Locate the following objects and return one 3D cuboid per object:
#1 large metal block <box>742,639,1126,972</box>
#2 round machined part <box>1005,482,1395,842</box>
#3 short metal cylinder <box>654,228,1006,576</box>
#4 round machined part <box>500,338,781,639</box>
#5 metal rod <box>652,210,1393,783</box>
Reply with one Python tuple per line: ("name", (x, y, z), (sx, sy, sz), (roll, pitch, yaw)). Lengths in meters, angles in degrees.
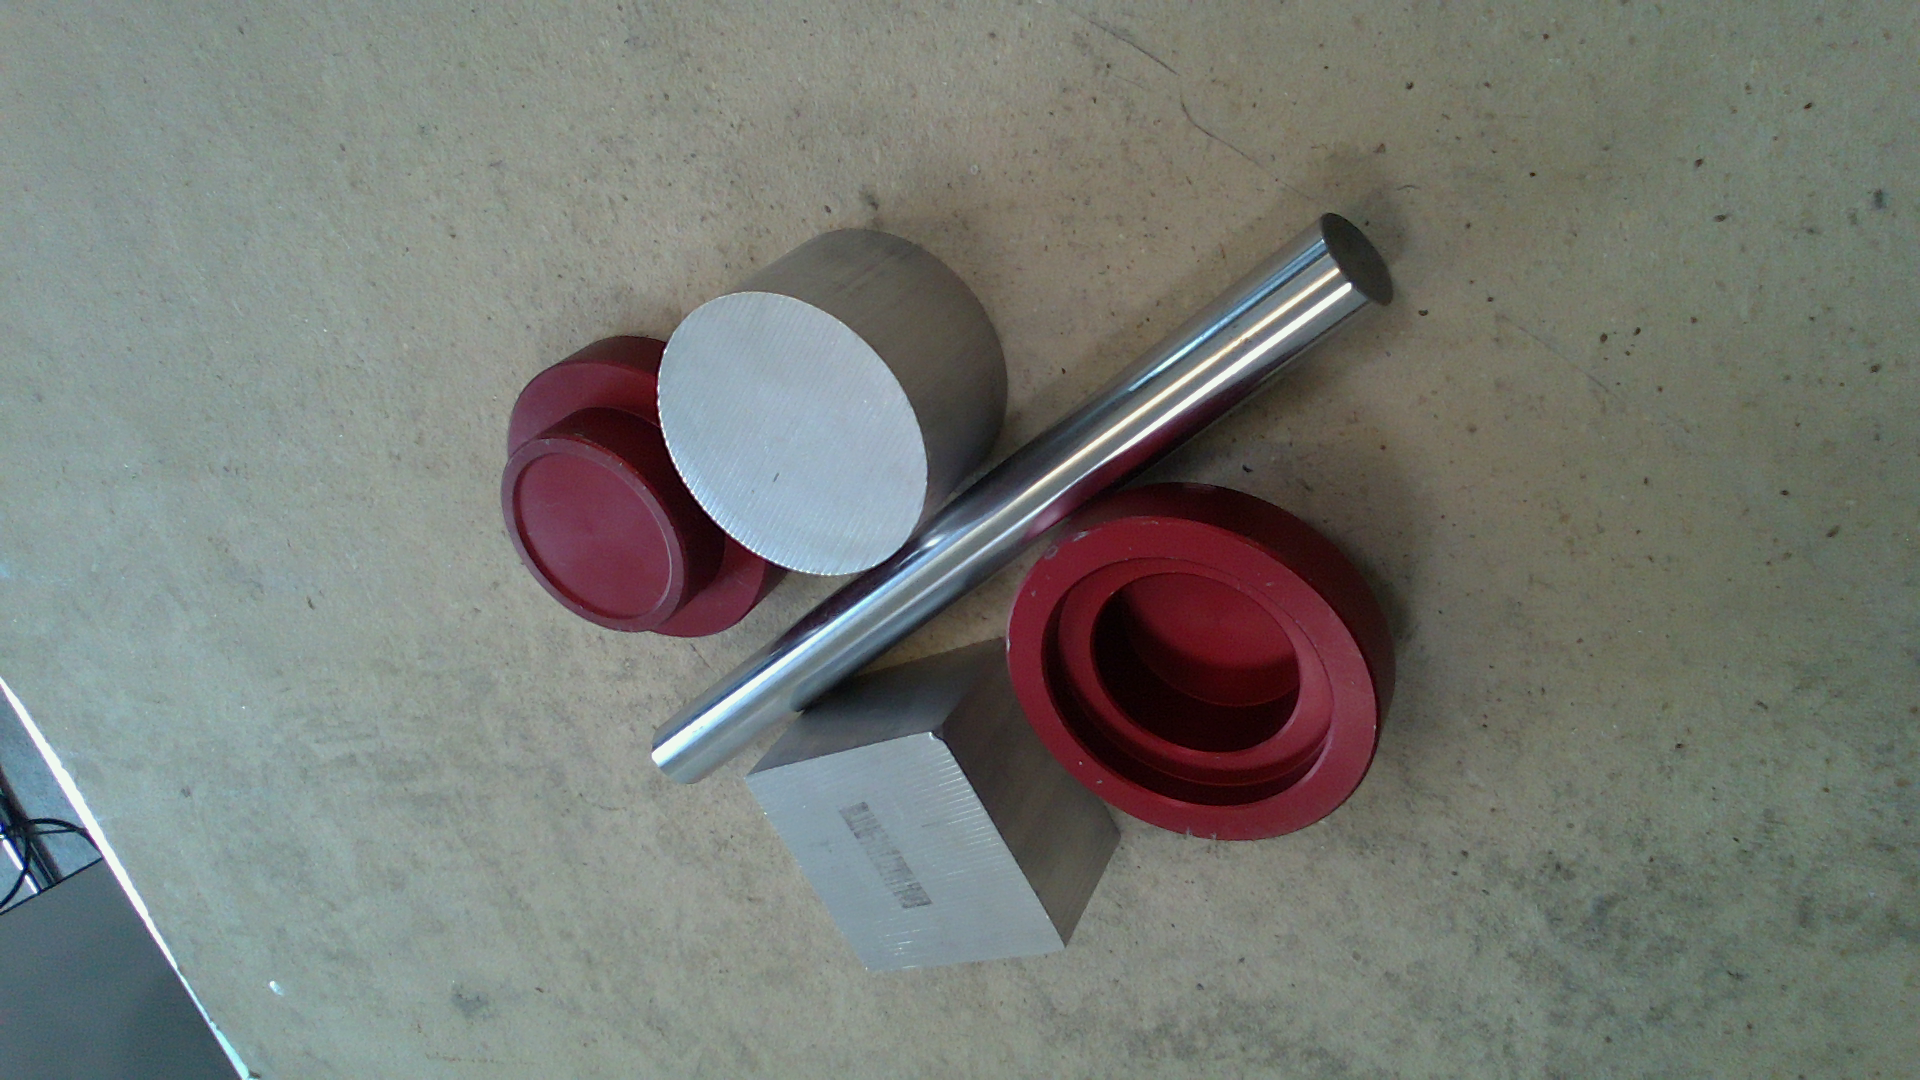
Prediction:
("large metal block", (-0.007, 0.085, 0.434), (0.080, 0.050, 0.080), (-19, 109, 35))
("round machined part", (0.065, 0.028, 0.364), (0.098, 0.042, 0.098), (13, 124, 21))
("short metal cylinder", (-0.034, -0.037, 0.371), (0.080, 0.050, 0.080), (13, 124, 21))
("round machined part", (-0.103, -0.010, 0.431), (0.098, 0.042, 0.098), (13, 124, 21))
("metal rod", (-0.005, 0.006, 0.401), (0.025, 0.025, 0.299), (49, 129, -6))
